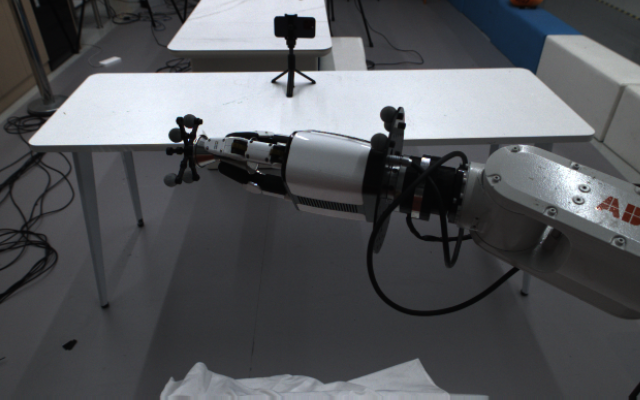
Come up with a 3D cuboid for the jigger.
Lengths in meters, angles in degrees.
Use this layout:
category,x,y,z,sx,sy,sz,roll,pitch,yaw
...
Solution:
category,x,y,z,sx,sy,sz,roll,pitch,yaw
jigger,-0.103,-0.057,0.571,0.071,0.043,0.043,6,35,14
